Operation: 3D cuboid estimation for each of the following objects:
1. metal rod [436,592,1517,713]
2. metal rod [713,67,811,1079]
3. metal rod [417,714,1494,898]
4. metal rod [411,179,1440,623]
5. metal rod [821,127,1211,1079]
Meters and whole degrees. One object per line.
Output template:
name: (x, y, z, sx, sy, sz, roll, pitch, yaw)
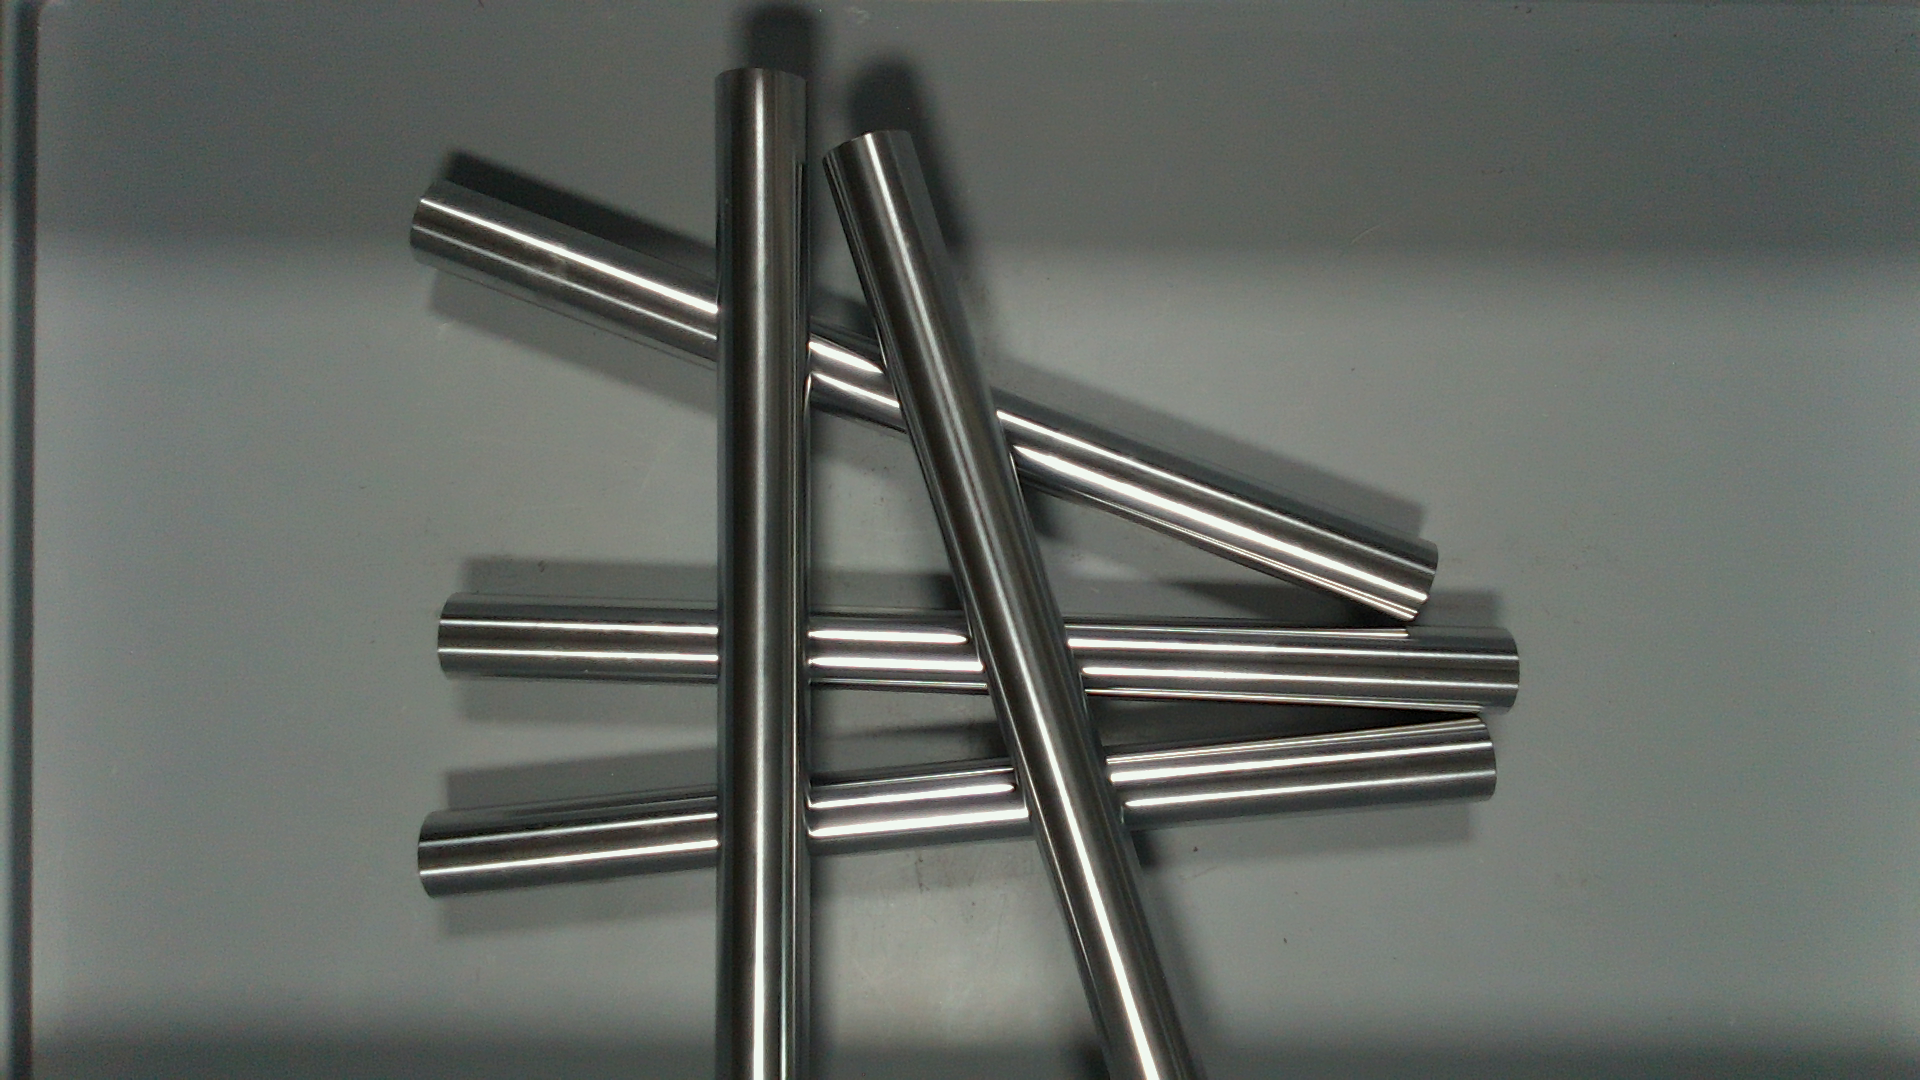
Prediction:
metal rod: (0.005, 0.032, 0.394, 0.300, 0.025, 0.025, 2, 90, 0)
metal rod: (-0.053, 0.028, 0.368, 0.025, 0.025, 0.300, 0, 90, 0)
metal rod: (-0.001, 0.076, 0.394, 0.300, 0.025, 0.025, -5, 90, 0)
metal rod: (-0.009, -0.039, 0.394, 0.300, 0.025, 0.025, 20, 90, 0)
metal rod: (0.020, 0.038, 0.369, 0.025, 0.025, 0.300, -18, 90, 0)
